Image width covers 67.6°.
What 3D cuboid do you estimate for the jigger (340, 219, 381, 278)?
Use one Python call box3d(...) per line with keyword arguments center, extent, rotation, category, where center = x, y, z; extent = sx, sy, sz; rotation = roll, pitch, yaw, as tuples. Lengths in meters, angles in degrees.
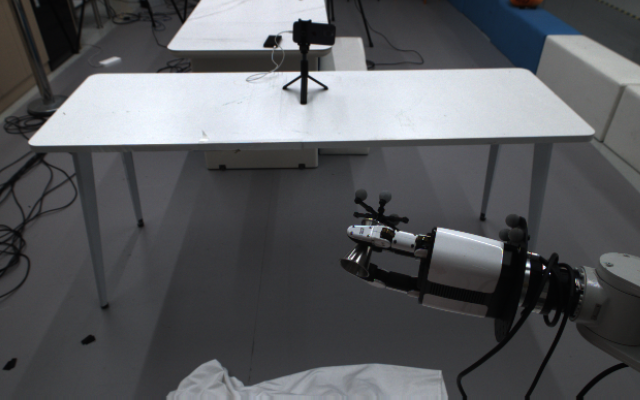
box3d(center=(0.059, 0.059, 0.643), extent=(0.043, 0.043, 0.071), rotation=(19, 61, 23), category="jigger")
